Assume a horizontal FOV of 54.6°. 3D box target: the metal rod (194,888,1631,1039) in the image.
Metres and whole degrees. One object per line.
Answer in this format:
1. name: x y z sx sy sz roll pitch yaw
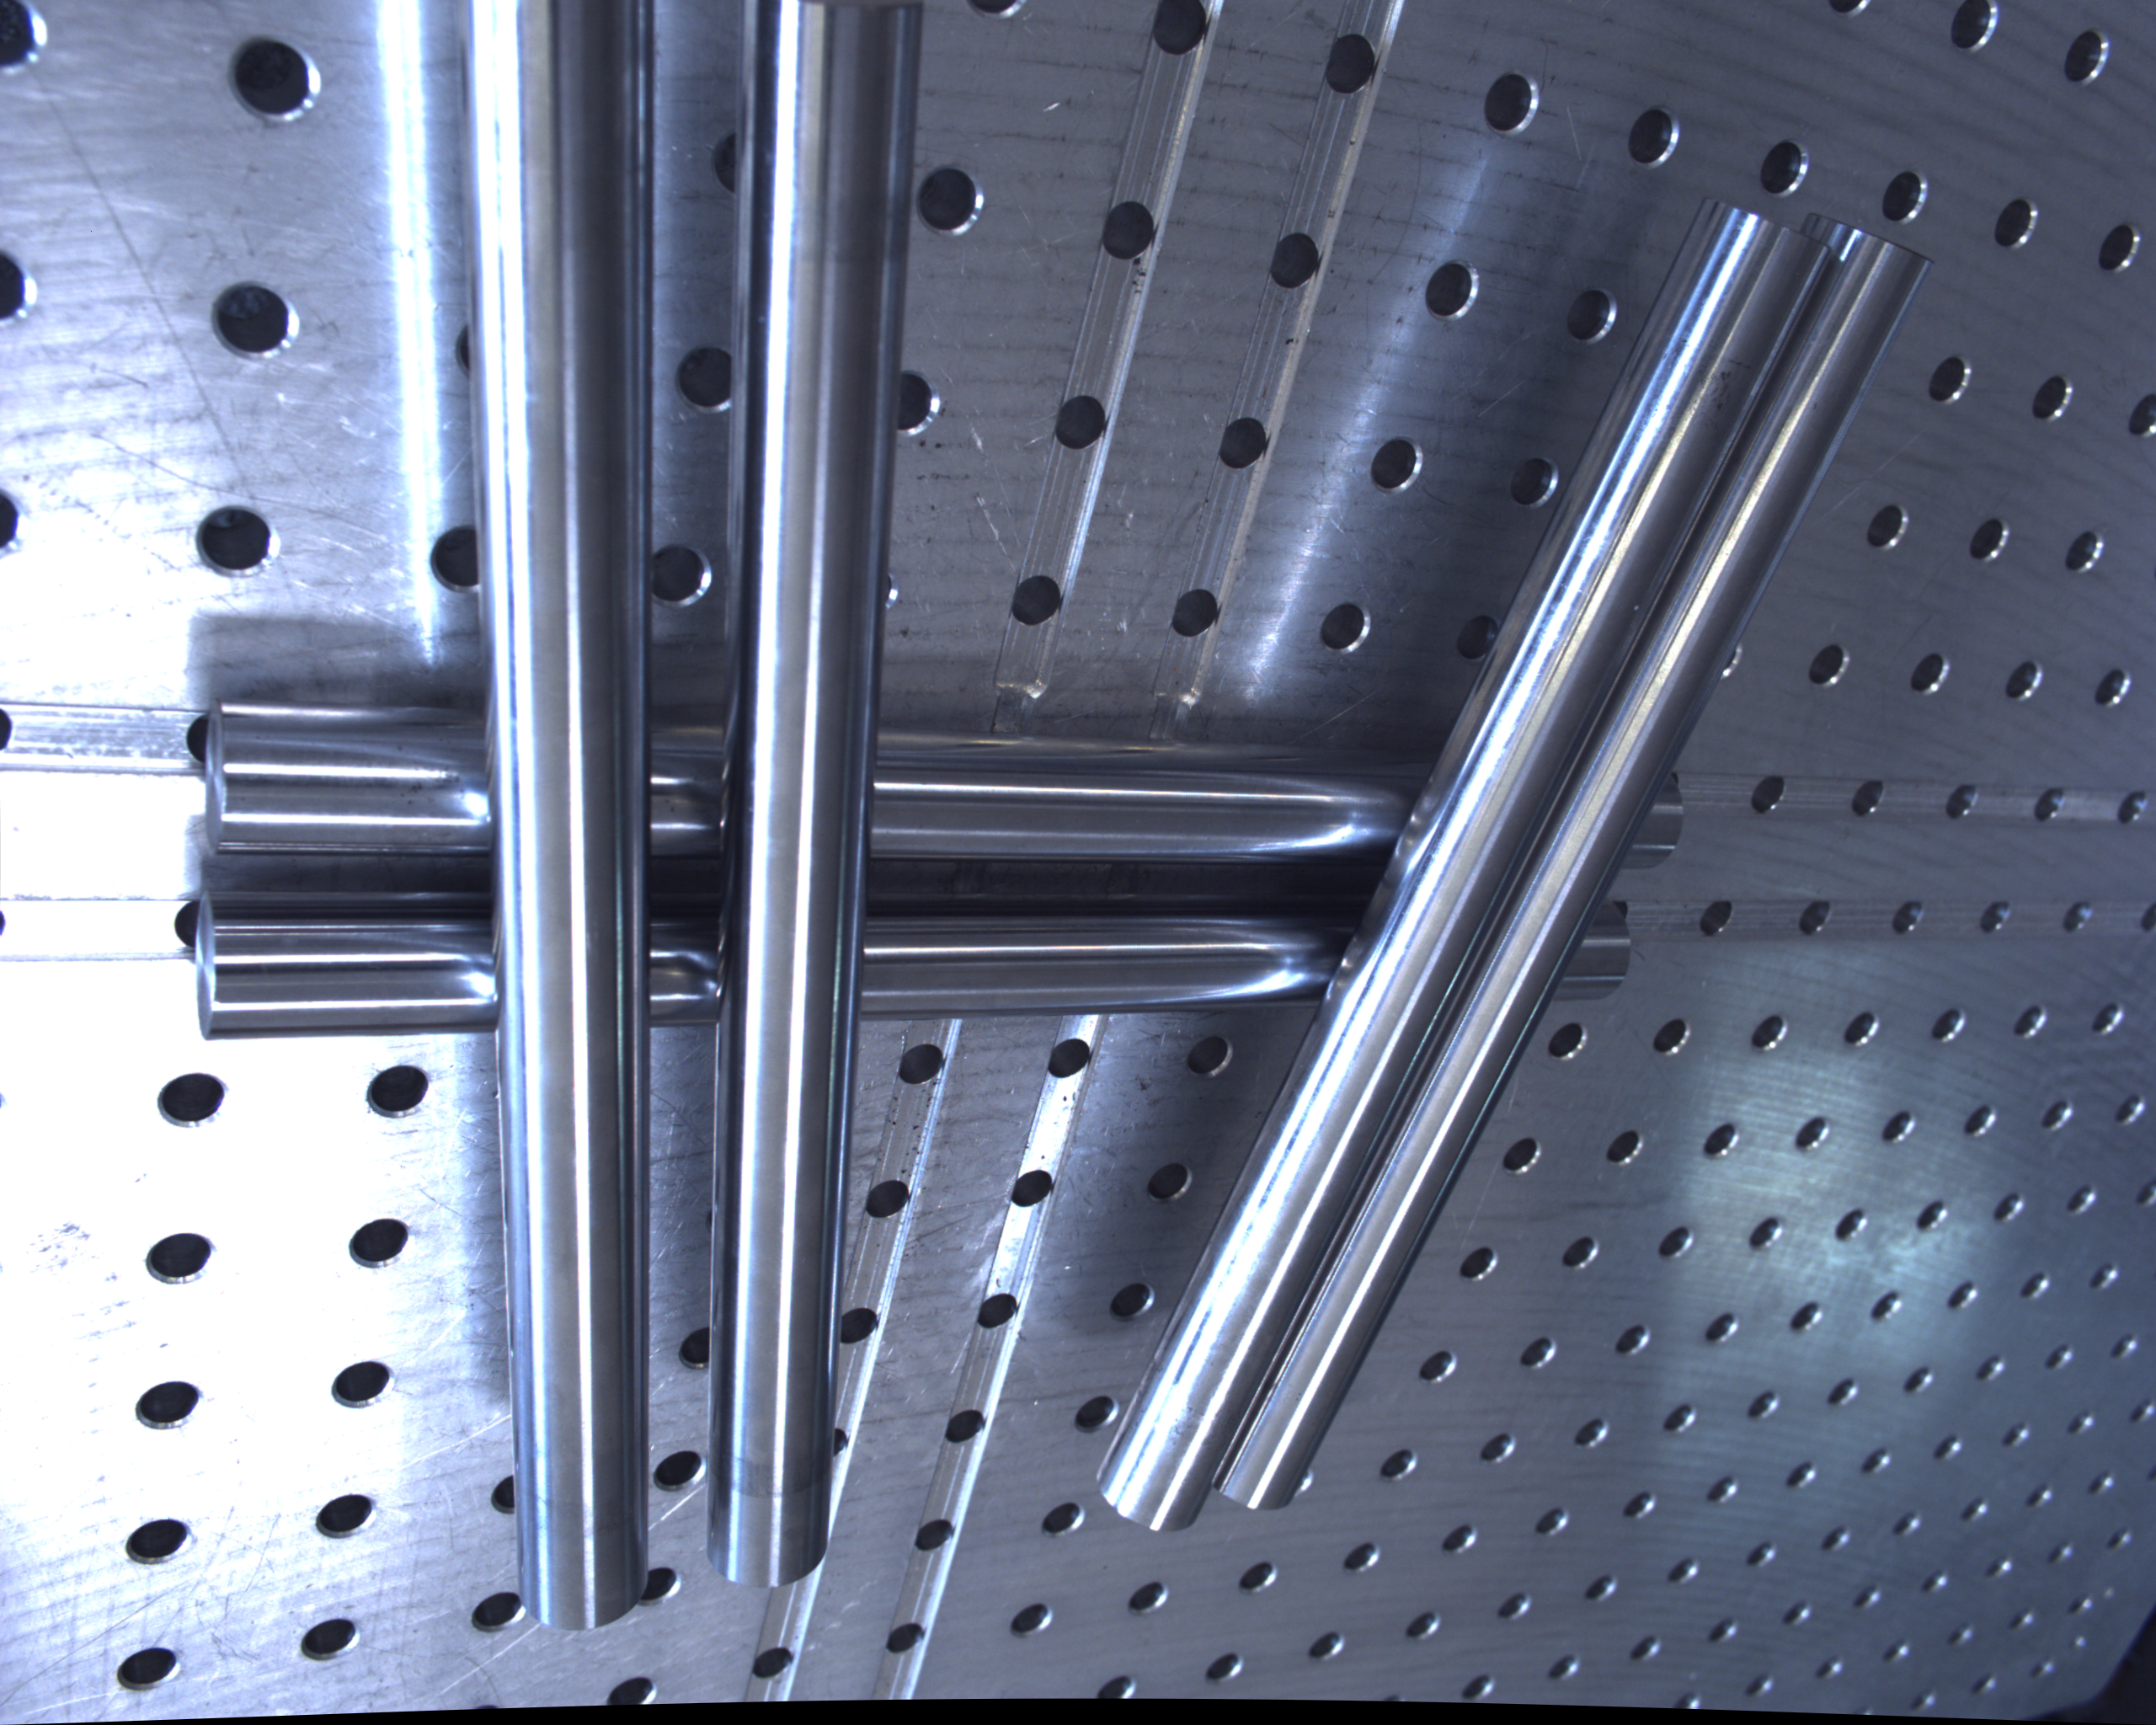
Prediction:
1. metal rod: -0.012 0.018 0.416 0.302 0.025 0.025 1 118 -29

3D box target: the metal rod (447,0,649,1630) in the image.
1. metal rod: -0.083 0.012 0.341 0.025 0.025 0.298 -8 122 -24

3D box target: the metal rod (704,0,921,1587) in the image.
1. metal rod: -0.049 0.010 0.358 0.025 0.025 0.298 -8 122 -24

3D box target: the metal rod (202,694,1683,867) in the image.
1. metal rod: -0.004 -0.012 0.401 0.302 0.025 0.025 1 118 -29

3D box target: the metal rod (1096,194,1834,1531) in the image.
1. metal rod: 0.070 0.014 0.426 0.025 0.025 0.298 9 114 -32

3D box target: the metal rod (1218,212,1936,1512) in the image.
1. metal rod: 0.093 0.014 0.438 0.025 0.025 0.298 9 114 -32
